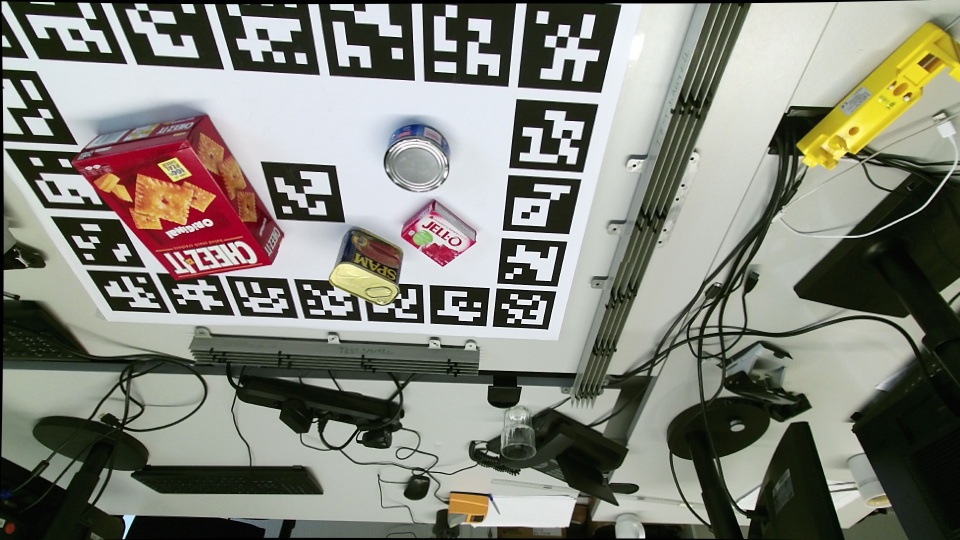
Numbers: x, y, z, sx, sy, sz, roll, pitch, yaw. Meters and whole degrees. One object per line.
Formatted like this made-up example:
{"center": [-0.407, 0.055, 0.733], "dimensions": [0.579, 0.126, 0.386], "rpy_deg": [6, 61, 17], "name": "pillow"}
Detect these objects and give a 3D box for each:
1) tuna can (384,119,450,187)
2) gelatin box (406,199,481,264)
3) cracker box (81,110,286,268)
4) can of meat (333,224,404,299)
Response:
{"center": [-0.083, -0.156, 0.715], "dimensions": [0.086, 0.033, 0.086], "rpy_deg": [0, 132, 0], "name": "tuna can"}
{"center": [-0.056, -0.056, 0.820], "dimensions": [0.089, 0.030, 0.073], "rpy_deg": [37, 128, -27], "name": "gelatin box"}
{"center": [-0.409, -0.104, 0.760], "dimensions": [0.165, 0.071, 0.214], "rpy_deg": [-8, 135, 12], "name": "cracker box"}
{"center": [-0.171, -0.015, 0.837], "dimensions": [0.102, 0.083, 0.058], "rpy_deg": [25, 131, -23], "name": "can of meat"}
